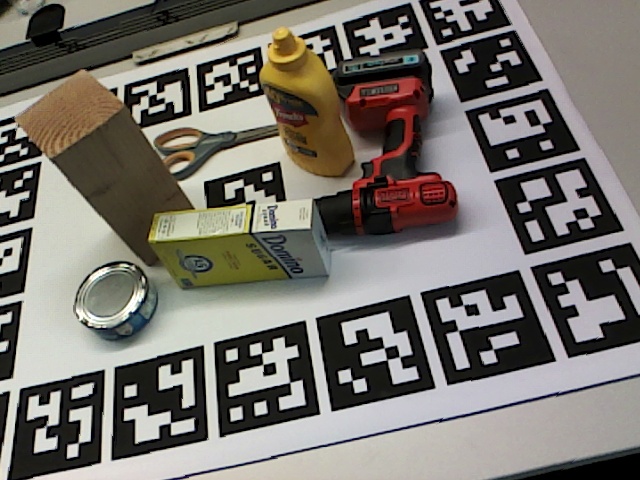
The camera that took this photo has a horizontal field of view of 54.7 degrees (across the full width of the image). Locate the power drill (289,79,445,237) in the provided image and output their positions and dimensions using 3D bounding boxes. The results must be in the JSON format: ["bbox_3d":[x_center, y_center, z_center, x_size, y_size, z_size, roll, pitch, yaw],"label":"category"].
[{"bbox_3d":[0.049,-0.091,0.717,0.185,0.057,0.187,-2,66,14],"label":"power drill"}]

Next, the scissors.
[{"bbox_3d":[-0.143,-0.131,0.816,0.203,0.016,0.088,-12,53,8],"label":"scissors"}]

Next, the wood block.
[{"bbox_3d":[-0.224,-0.072,0.700,0.091,0.205,0.090,-38,59,-10],"label":"wood block"}]

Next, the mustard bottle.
[{"bbox_3d":[-0.017,-0.152,0.702,0.097,0.190,0.058,33,73,28],"label":"mustard bottle"}]

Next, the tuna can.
[{"bbox_3d":[-0.233,0.065,0.706,0.086,0.033,0.086,-6,59,10],"label":"tuna can"}]

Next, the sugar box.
[{"bbox_3d":[-0.079,0.006,0.672,0.177,0.092,0.045,-3,55,11],"label":"sugar box"}]
